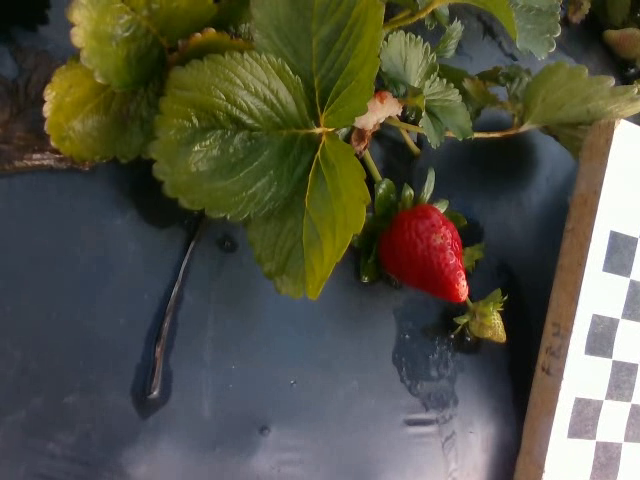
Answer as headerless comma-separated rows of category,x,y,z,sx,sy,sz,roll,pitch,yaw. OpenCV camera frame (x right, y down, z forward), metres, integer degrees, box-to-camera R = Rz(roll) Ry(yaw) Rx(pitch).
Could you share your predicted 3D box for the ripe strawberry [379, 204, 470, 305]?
ripe strawberry,0.060,0.012,0.309,0.043,0.052,0.057,-15,40,-18
